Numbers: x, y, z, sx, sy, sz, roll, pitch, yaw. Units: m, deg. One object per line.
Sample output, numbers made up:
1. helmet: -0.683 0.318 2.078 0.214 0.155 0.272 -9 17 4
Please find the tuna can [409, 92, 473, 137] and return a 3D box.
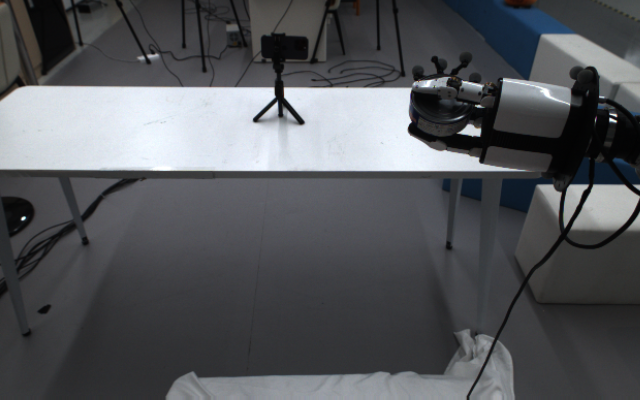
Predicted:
1. tuna can: 0.164 -0.134 0.655 0.085 0.034 0.085 -2 57 3
